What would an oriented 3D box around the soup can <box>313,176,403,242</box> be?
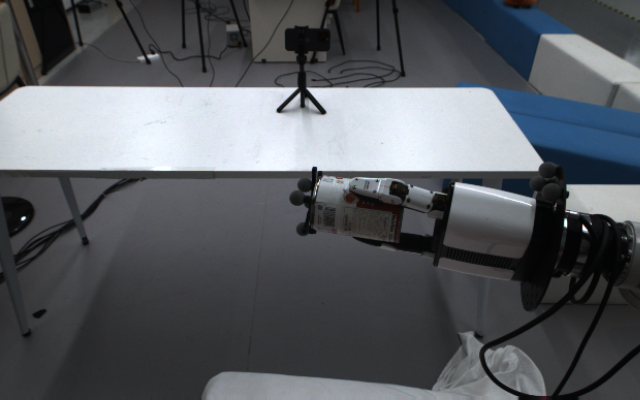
[{"bbox_3d":[0.049,0.009,0.563,0.101,0.067,0.067,8,35,9],"label":"soup can"}]
